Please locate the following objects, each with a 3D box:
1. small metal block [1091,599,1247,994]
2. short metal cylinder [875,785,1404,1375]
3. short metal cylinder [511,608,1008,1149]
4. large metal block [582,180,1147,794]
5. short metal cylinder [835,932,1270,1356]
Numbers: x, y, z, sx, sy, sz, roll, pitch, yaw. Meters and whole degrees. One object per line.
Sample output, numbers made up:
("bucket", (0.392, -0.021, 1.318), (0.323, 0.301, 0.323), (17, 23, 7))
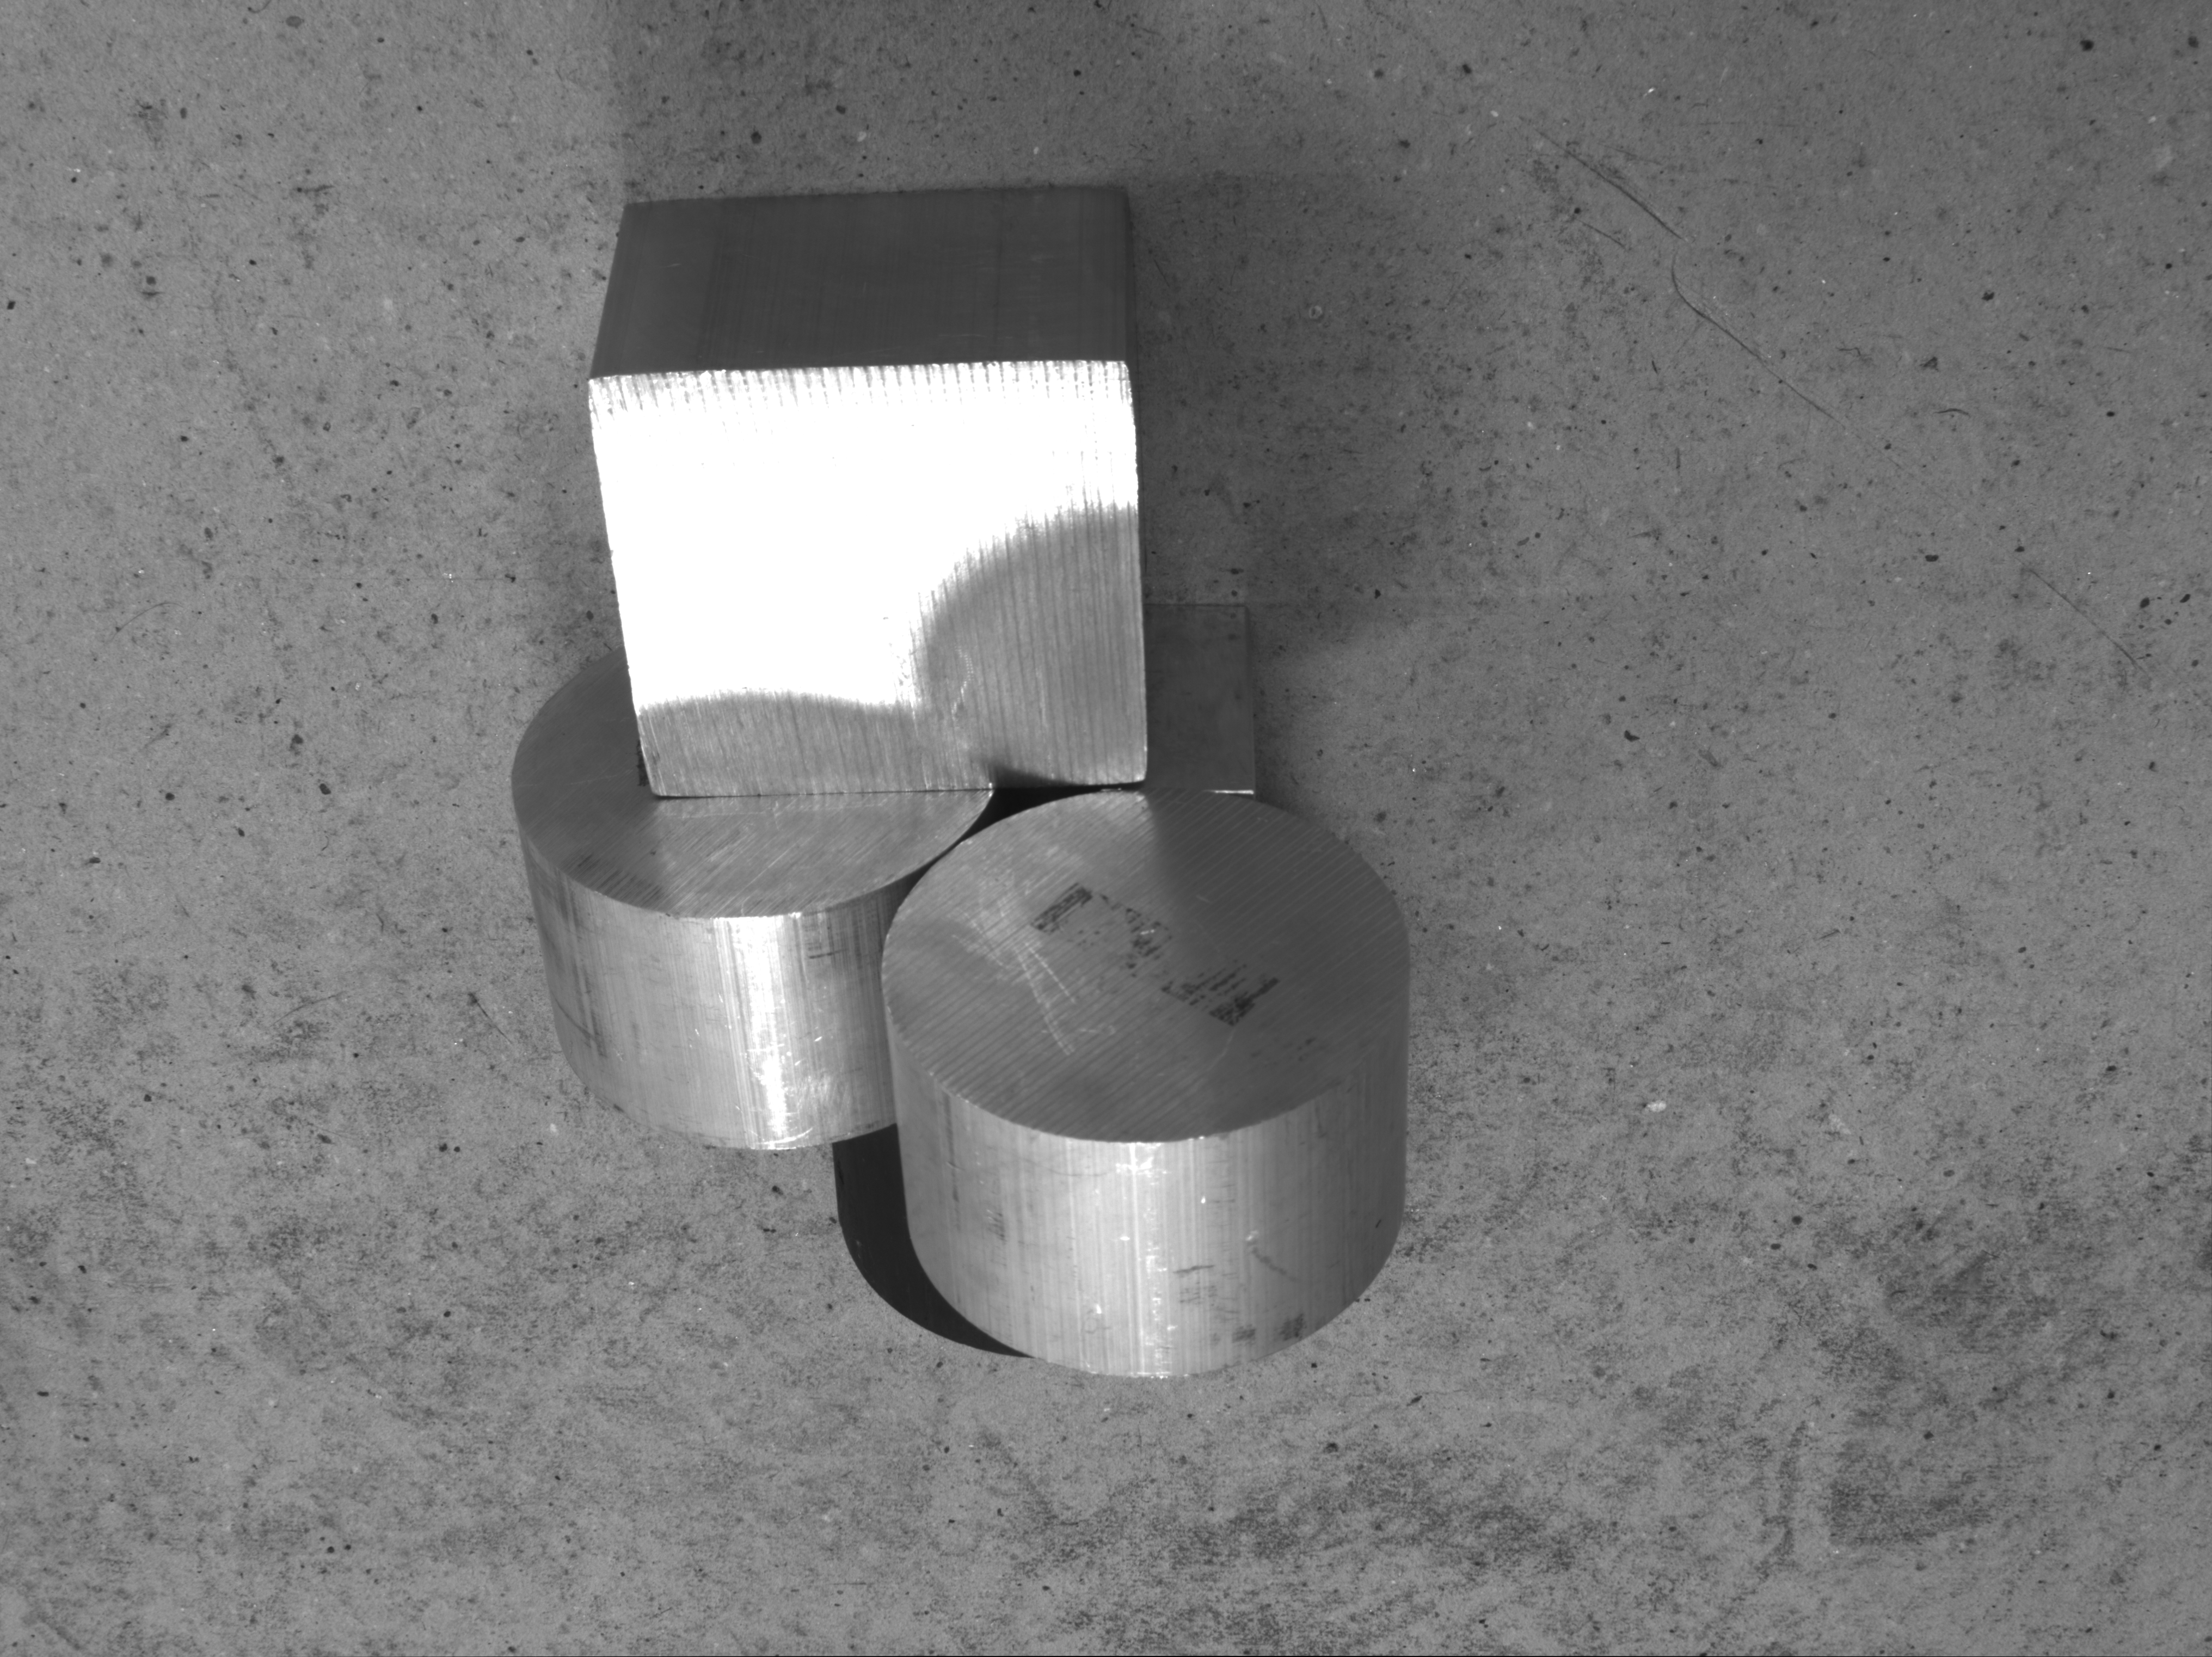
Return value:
("small metal block", (0.010, -0.004, 0.623), (0.025, 0.050, 0.050), (1, 130, 0))
("short metal cylinder", (0.006, 0.038, 0.571), (0.080, 0.080, 0.050), (-2, 130, 1))
("short metal cylinder", (-0.055, 0.007, 0.611), (0.080, 0.080, 0.050), (-2, 130, 1))
("large metal block", (-0.035, -0.053, 0.580), (0.080, 0.050, 0.080), (-2, 130, 1))
("short metal cylinder", (-0.009, 0.046, 0.643), (0.080, 0.080, 0.050), (0, 130, 0))
